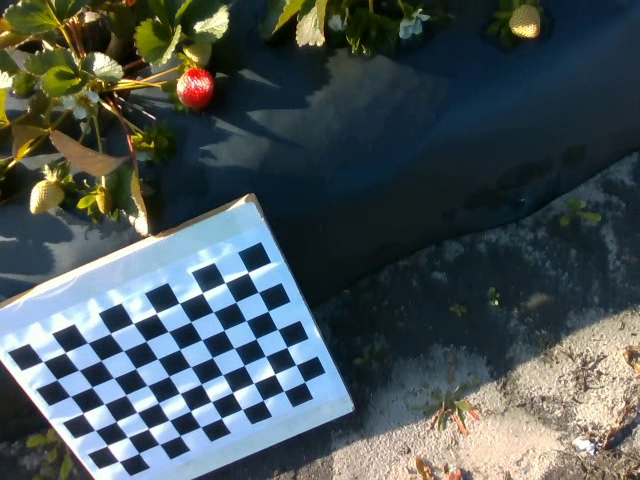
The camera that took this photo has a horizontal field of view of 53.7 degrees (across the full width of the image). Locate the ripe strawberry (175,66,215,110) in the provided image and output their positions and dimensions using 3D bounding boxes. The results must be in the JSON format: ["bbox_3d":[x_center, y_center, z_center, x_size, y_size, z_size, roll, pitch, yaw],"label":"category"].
[{"bbox_3d":[-0.092,-0.119,0.487,0.037,0.042,0.045,47,-19,-23],"label":"ripe strawberry"}]
